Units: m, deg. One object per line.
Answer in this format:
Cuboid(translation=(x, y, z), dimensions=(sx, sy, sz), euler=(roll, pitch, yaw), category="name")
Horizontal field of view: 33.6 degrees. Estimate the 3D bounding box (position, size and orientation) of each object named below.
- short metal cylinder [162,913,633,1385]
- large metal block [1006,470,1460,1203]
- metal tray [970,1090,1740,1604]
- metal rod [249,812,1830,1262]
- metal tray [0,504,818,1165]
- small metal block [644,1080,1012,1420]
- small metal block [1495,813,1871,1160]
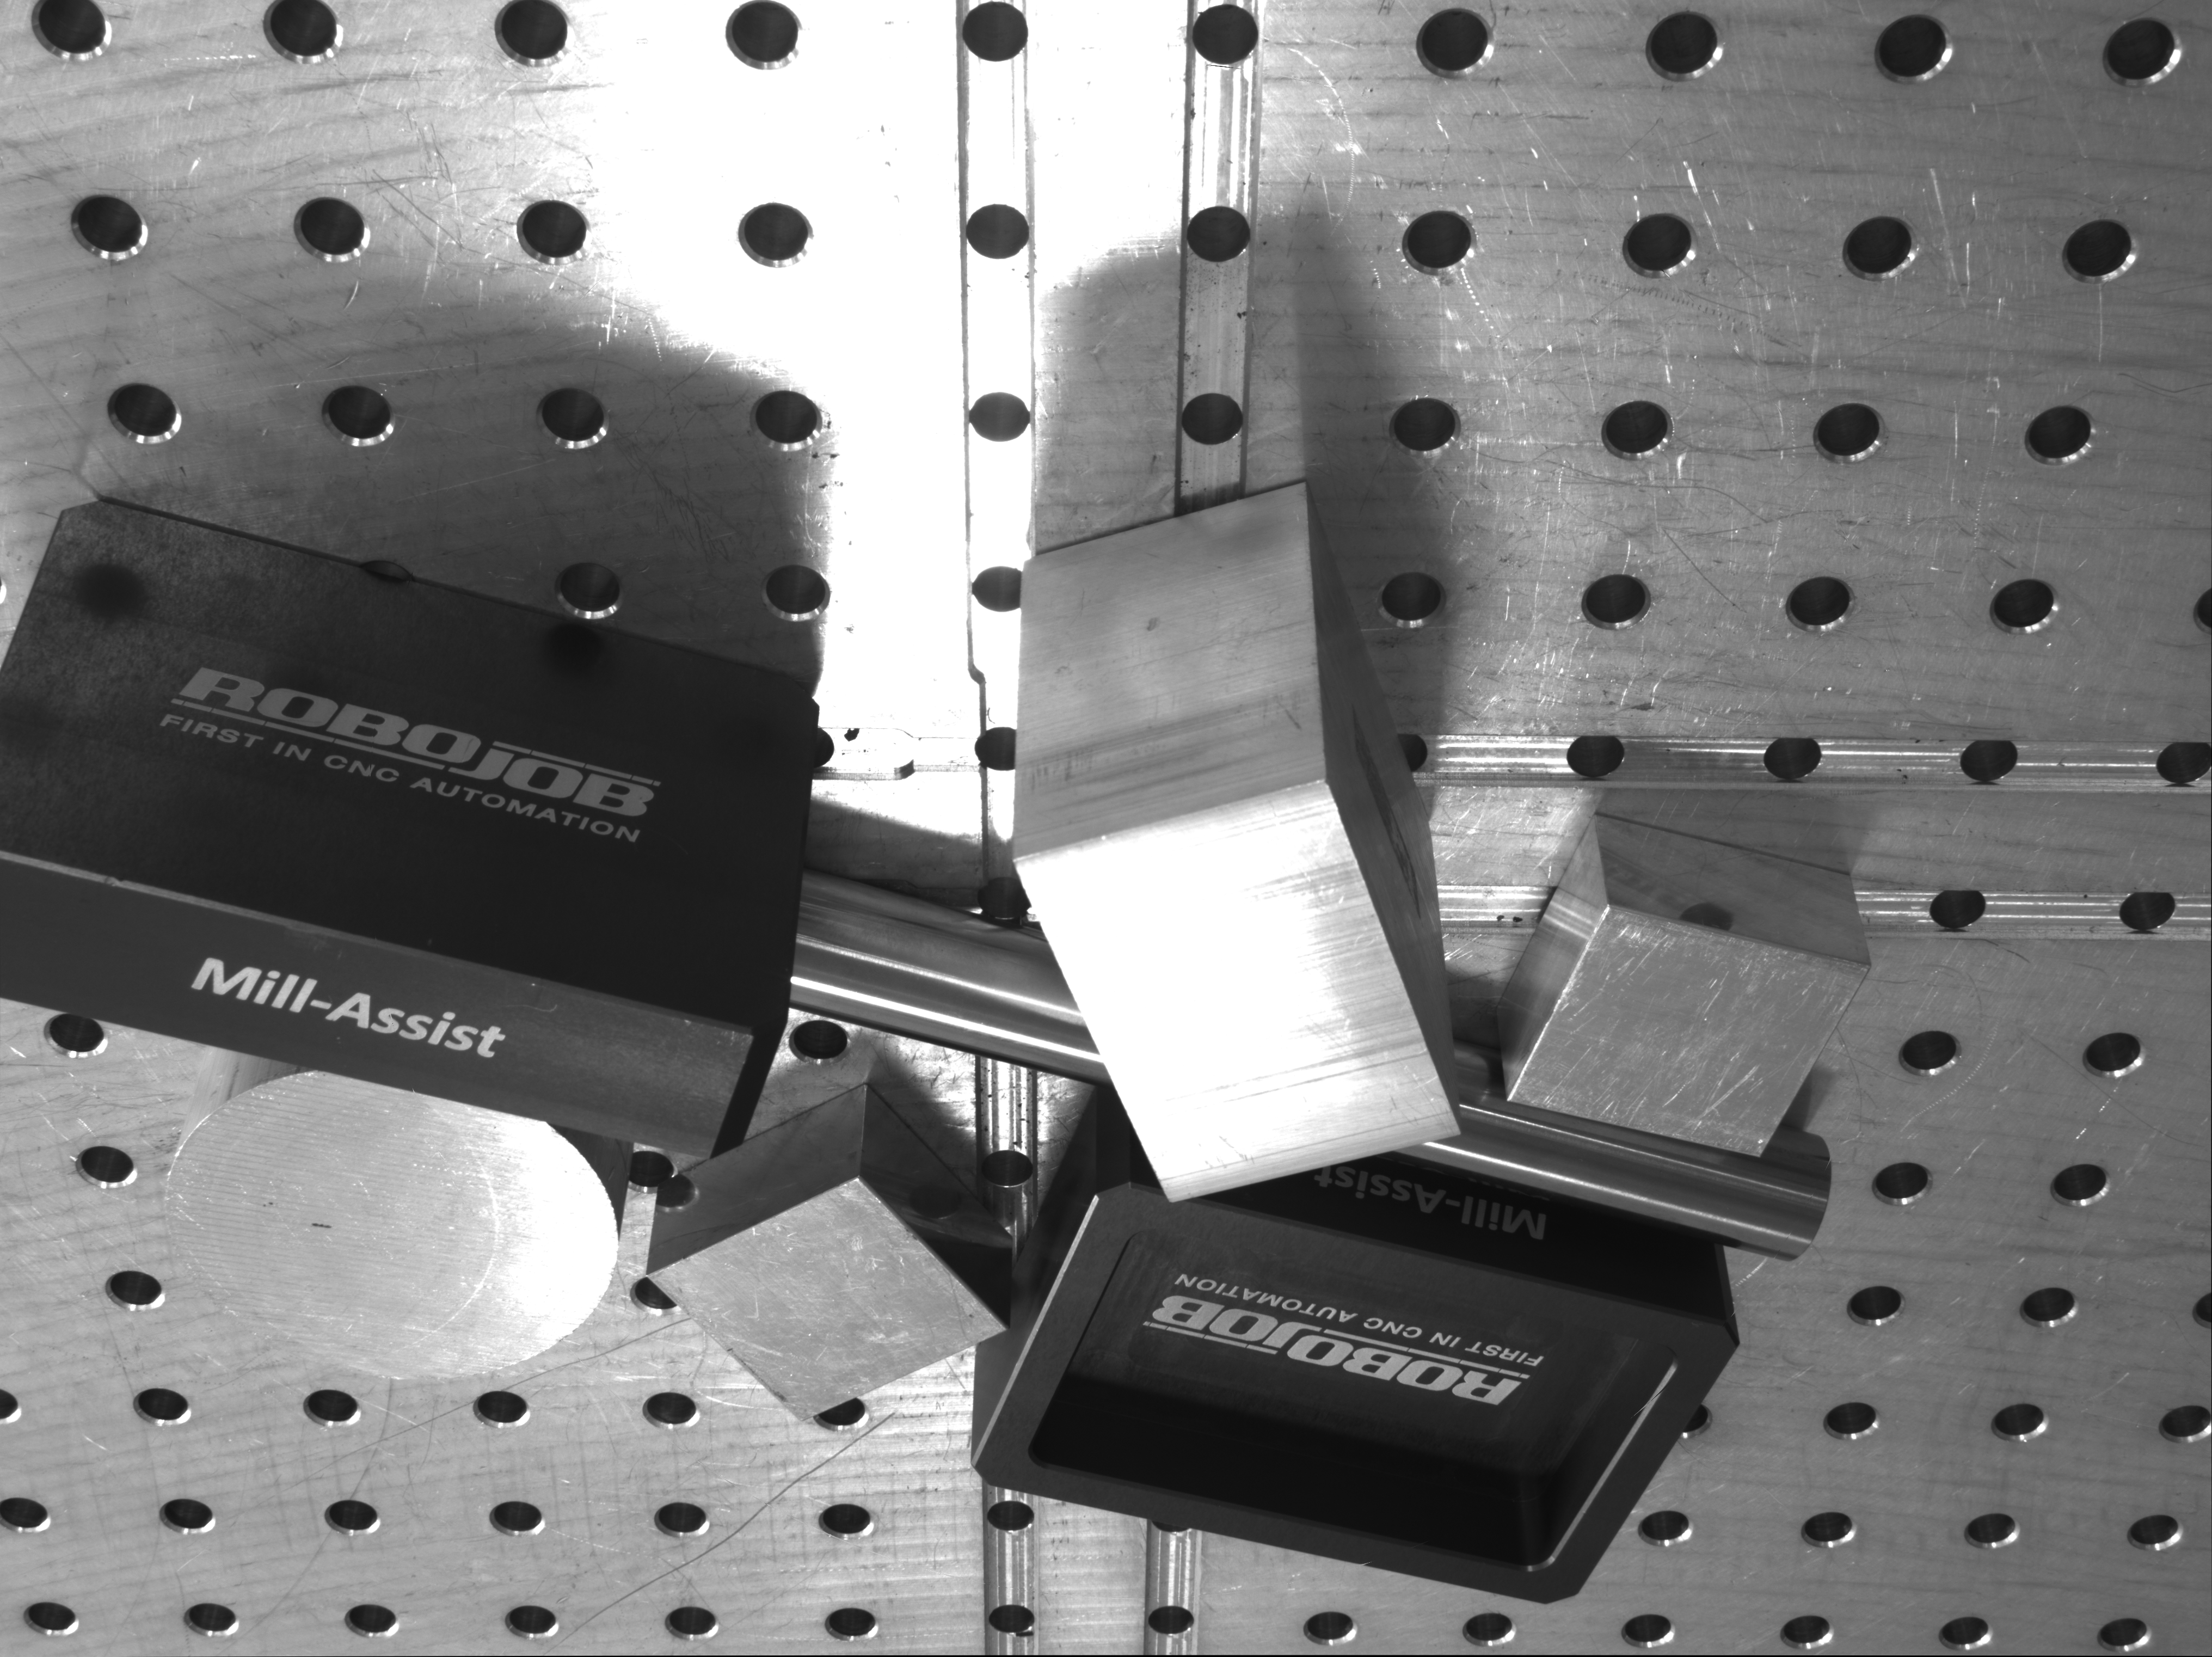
Cuboid(translation=(-0.127, 0.056, 0.671), dimensions=(0.080, 0.050, 0.080), euler=(0, 130, 0), category="short metal cylinder")
Cuboid(translation=(0.021, 0.001, 0.609), dimensions=(0.050, 0.080, 0.080), euler=(-14, 128, 12), category="large metal block")
Cuboid(translation=(0.047, 0.103, 0.725), dimensions=(0.130, 0.030, 0.090), euler=(14, 129, -12), category="metal tray")
Cuboid(translation=(-0.009, 0.032, 0.669), dimensions=(0.300, 0.025, 0.025), euler=(15, 128, -13), category="metal rod")
Cuboid(translation=(-0.116, 0.000, 0.598), dimensions=(0.130, 0.090, 0.030), euler=(15, 129, -12), category="metal tray")
Cuboid(translation=(-0.053, 0.082, 0.712), dimensions=(0.050, 0.025, 0.050), euler=(-26, 125, 20), category="small metal block")
Cuboid(translation=(0.104, 0.029, 0.667), dimensions=(0.050, 0.025, 0.050), euler=(13, 129, -11), category="small metal block")
